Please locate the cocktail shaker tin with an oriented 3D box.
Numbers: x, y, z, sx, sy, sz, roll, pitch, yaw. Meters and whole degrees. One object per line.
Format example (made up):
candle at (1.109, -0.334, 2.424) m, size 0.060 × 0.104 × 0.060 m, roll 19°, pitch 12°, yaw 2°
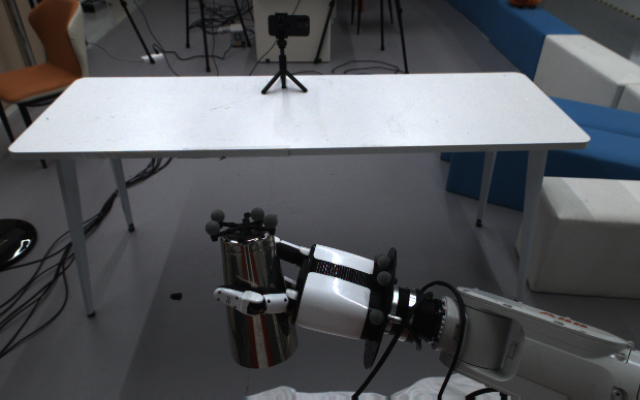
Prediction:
cocktail shaker tin at (-0.084, 0.121, 0.630) m, size 0.093 × 0.170 × 0.093 m, roll -6°, pitch 19°, yaw 2°
